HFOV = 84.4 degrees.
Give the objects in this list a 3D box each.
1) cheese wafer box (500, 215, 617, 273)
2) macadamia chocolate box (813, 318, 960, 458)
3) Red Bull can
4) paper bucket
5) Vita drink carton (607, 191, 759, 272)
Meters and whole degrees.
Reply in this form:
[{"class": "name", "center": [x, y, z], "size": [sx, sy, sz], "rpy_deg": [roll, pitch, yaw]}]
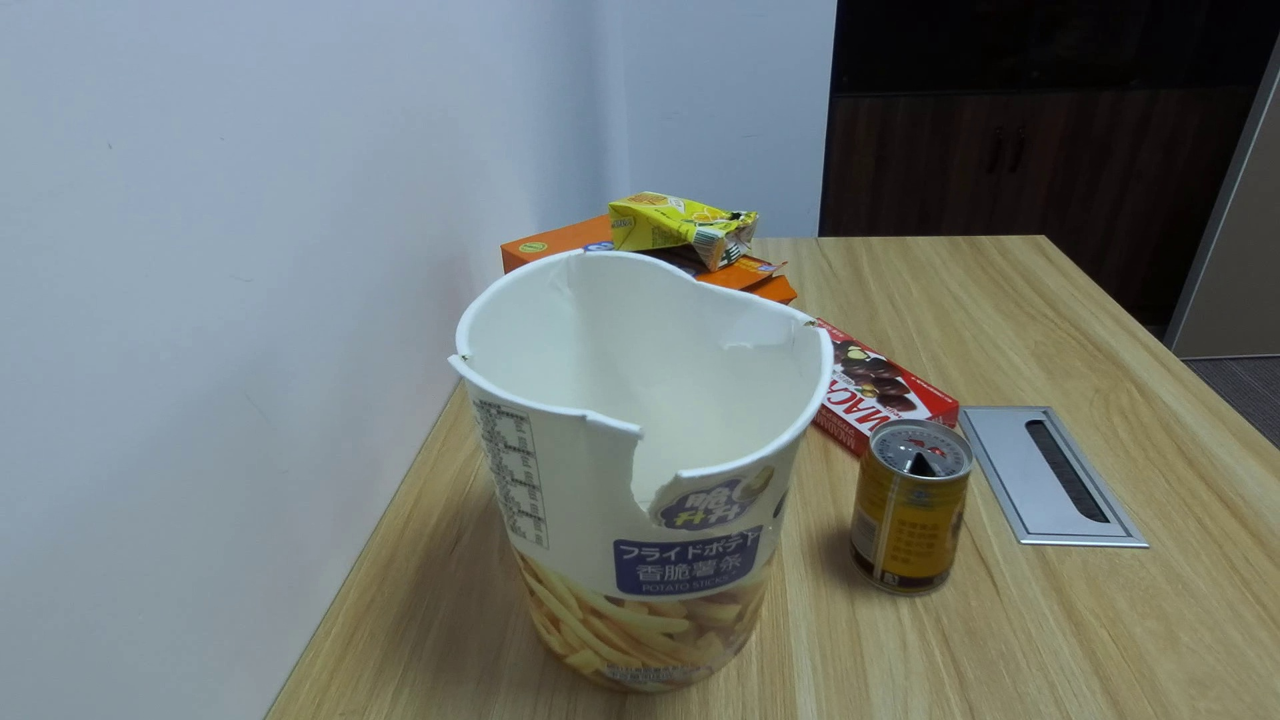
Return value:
[{"class": "cheese wafer box", "center": [0.001, -0.033, 0.623], "size": [0.150, 0.137, 0.226], "rpy_deg": [-25, 39, -33]}, {"class": "macadamia chocolate box", "center": [0.176, 0.020, 0.622], "size": [0.096, 0.027, 0.177], "rpy_deg": [-18, 35, -22]}, {"class": "Red Bull can", "center": [0.168, 0.090, 0.440], "size": [0.068, 0.093, 0.068], "rpy_deg": [-3, 31, 2]}, {"class": "paper bucket", "center": [0.000, 0.062, 0.391], "size": [0.202, 0.197, 0.146], "rpy_deg": [20, 39, 34]}, {"class": "Vita drink carton", "center": [0.036, -0.106, 0.583], "size": [0.108, 0.042, 0.087], "rpy_deg": [17, 27, 25]}]
